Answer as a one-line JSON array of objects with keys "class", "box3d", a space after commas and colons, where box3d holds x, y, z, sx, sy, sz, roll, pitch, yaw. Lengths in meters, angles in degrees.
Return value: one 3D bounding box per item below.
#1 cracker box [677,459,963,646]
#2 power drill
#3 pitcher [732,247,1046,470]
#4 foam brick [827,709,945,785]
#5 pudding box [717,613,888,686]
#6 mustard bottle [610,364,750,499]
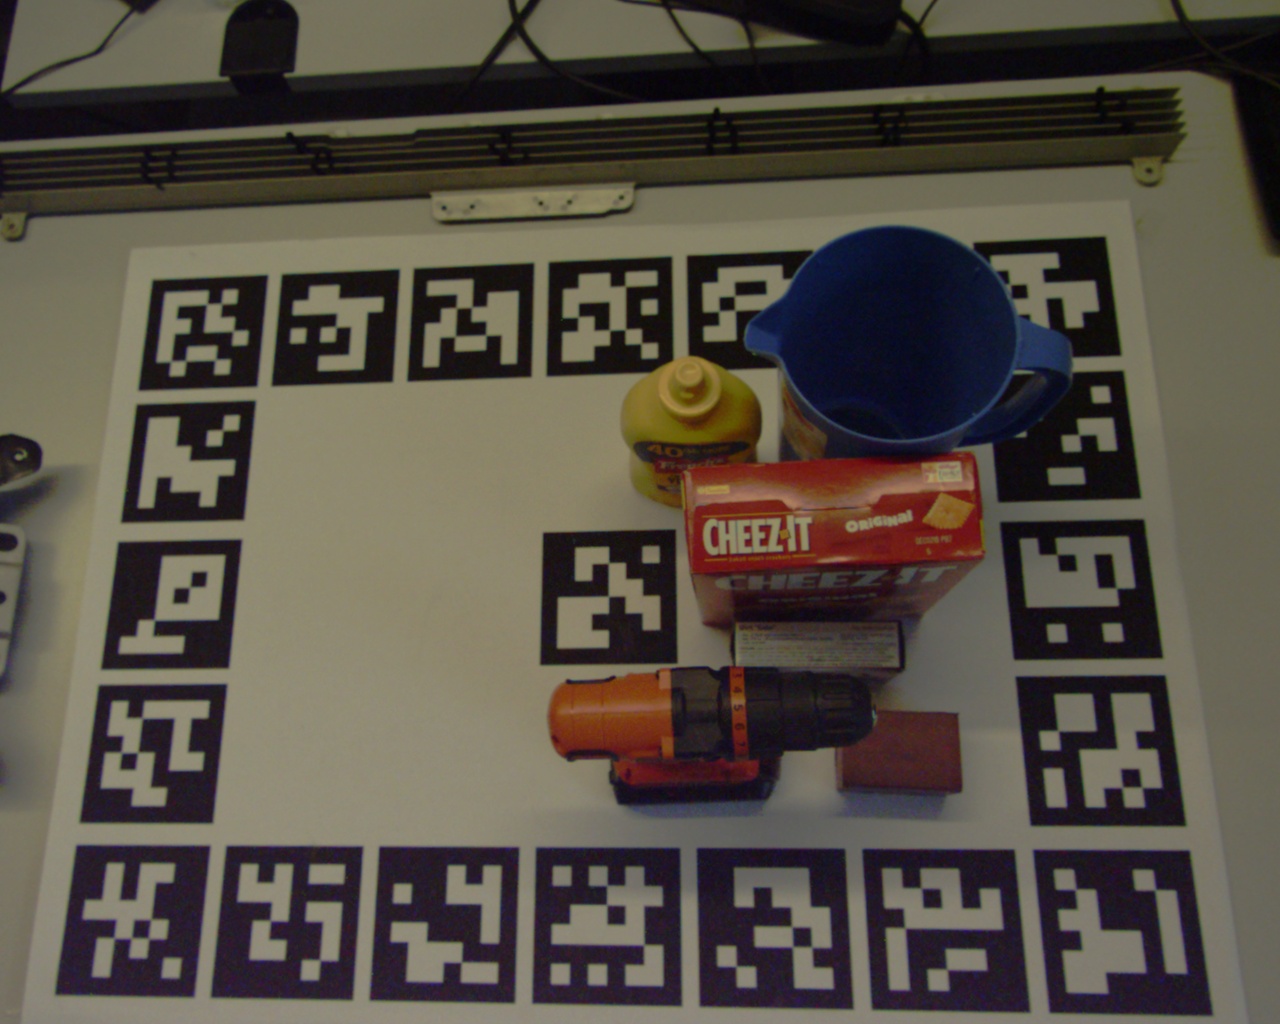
[{"class": "cracker box", "box3d": [0.115, 0.036, 0.758, 0.165, 0.212, 0.072, -4, 73, 7]}, {"class": "power drill", "box3d": [0.045, 0.140, 0.720, 0.185, 0.186, 0.057, -3, 71, 4]}, {"class": "pitcher", "box3d": [0.161, -0.065, 0.775, 0.189, 0.241, 0.133, 4, 75, 8]}, {"class": "foam brick", "box3d": [0.172, 0.166, 0.806, 0.078, 0.051, 0.053, 1, 77, 6]}, {"class": "pudding box", "box3d": [0.112, 0.097, 0.797, 0.114, 0.089, 0.039, -1, 73, 8]}, {"class": "mustard bottle", "box3d": [0.029, -0.059, 0.799, 0.096, 0.190, 0.058, 12, 77, 8]}]
